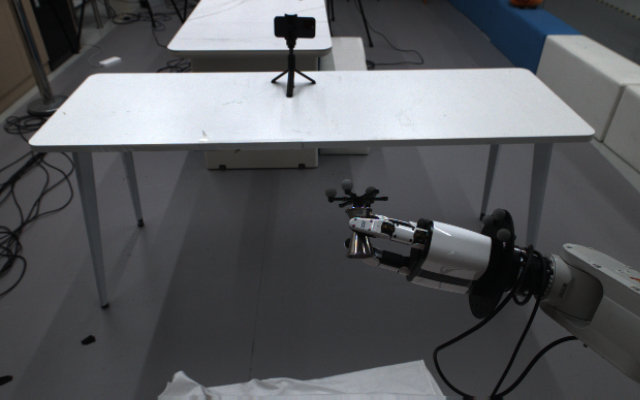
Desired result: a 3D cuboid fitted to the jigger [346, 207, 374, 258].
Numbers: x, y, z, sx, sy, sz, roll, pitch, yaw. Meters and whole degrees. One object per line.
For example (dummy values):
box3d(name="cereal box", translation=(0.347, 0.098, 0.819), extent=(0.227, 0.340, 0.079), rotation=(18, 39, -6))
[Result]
box3d(name="jigger", translation=(0.057, 0.046, 0.692), extent=(0.043, 0.043, 0.071), rotation=(0, 75, -3))
